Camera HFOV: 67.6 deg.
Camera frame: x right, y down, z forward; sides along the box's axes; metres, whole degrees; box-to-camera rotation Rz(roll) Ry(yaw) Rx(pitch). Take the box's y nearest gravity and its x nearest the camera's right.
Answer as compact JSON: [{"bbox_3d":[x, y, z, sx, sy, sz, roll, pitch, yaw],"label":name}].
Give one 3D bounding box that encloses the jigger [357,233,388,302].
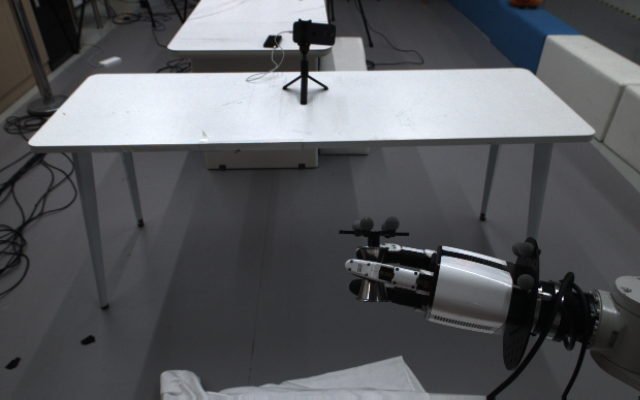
[{"bbox_3d":[0.068,0.093,0.619,0.043,0.071,0.043,1,-6,0],"label":"jigger"}]
